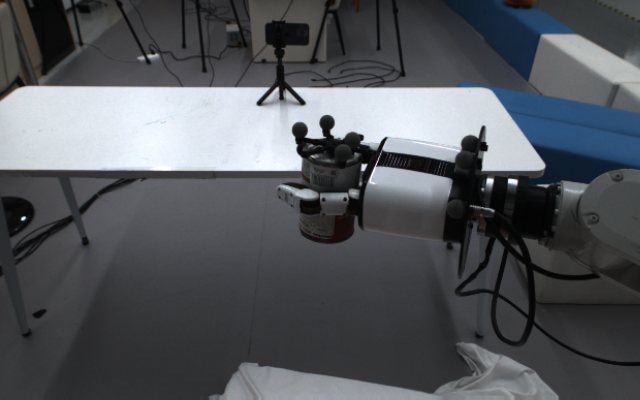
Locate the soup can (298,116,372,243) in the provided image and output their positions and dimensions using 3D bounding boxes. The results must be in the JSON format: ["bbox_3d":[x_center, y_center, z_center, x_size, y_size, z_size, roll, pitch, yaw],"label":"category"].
[{"bbox_3d":[0.012,-0.011,0.552,0.067,0.101,0.067,3,30,-2],"label":"soup can"}]
